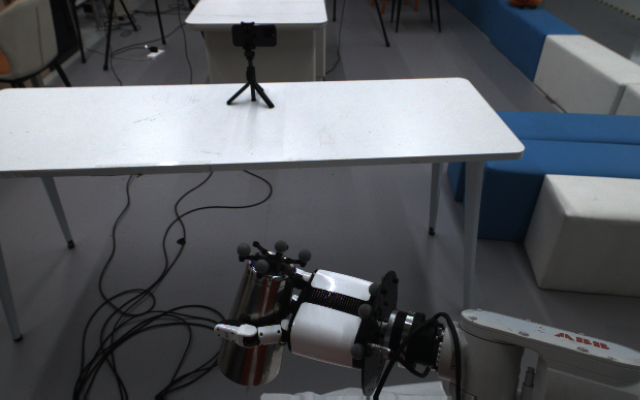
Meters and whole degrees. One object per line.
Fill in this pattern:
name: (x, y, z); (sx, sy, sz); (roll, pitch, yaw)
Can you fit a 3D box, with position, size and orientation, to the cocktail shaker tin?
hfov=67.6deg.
cocktail shaker tin: (-0.080, 0.158, 0.667); (0.093, 0.170, 0.093); (11, 24, -5)
